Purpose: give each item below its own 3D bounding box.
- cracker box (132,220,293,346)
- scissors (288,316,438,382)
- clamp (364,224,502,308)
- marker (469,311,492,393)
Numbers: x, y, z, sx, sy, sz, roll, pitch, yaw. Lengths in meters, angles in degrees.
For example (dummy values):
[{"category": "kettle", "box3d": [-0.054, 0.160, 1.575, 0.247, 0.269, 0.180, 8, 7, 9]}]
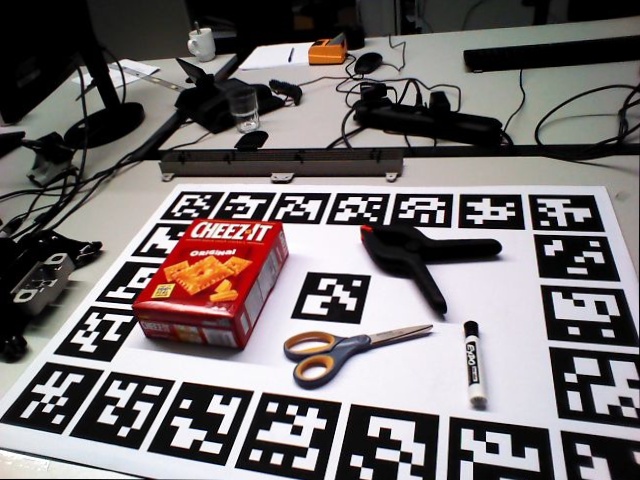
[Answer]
[{"category": "cracker box", "box3d": [-0.153, 0.053, 0.783, 0.165, 0.072, 0.212, 2, 38, 17]}, {"category": "scissors", "box3d": [0.057, 0.126, 0.670, 0.203, 0.016, 0.087, -15, 35, -9]}, {"category": "clamp", "box3d": [0.149, 0.018, 0.801, 0.203, 0.037, 0.164, 24, 47, 38]}, {"category": "marker", "box3d": [0.193, 0.130, 0.626, 0.020, 0.020, 0.120, -1, 36, 13]}]
